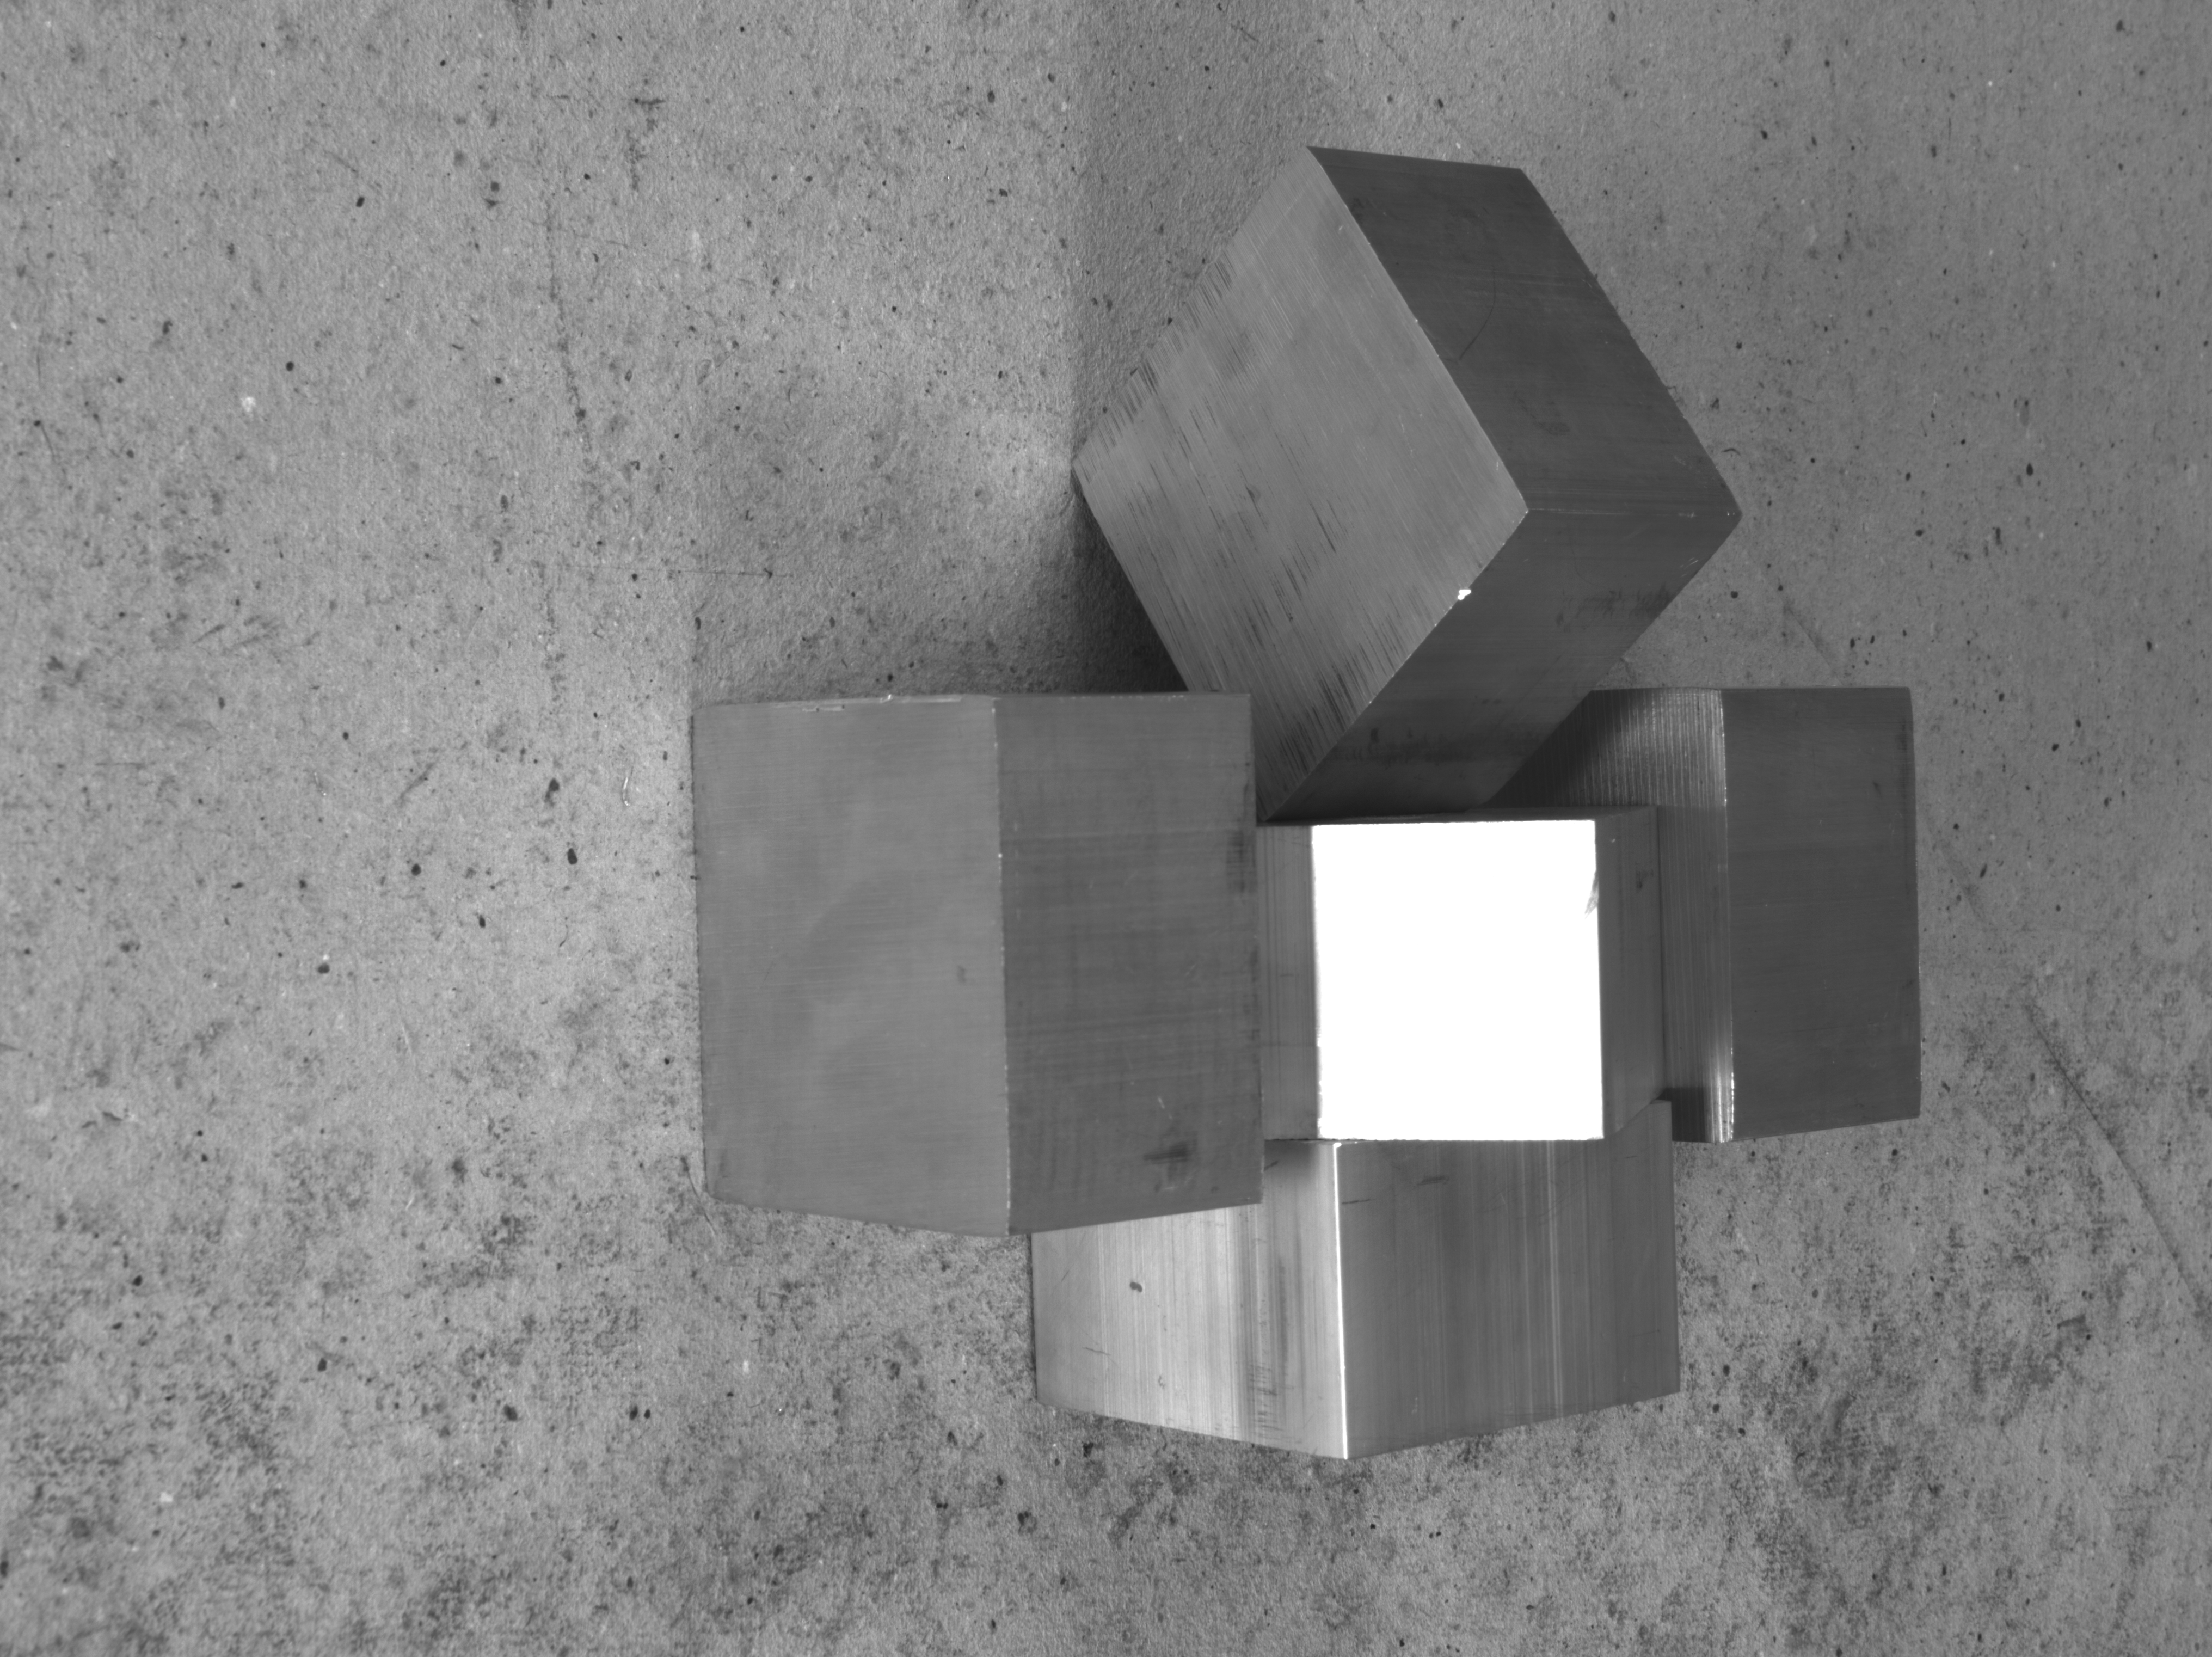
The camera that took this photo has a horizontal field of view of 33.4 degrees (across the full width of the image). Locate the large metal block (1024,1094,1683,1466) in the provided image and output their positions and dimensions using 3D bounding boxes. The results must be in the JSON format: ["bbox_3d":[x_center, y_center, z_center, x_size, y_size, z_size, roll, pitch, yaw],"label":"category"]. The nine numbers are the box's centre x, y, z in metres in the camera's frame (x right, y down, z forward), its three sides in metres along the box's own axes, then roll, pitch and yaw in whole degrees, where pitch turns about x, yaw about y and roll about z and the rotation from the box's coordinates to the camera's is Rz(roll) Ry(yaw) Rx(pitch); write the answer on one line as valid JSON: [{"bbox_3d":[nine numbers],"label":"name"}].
[{"bbox_3d":[0.042,0.074,0.637,0.080,0.080,0.050,-3,92,-39],"label":"large metal block"}]

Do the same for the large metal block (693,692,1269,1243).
[{"bbox_3d":[-0.021,0.020,0.583,0.050,0.080,0.080,-2,91,-40],"label":"large metal block"}]

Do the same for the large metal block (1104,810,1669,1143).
[{"bbox_3d":[0.050,0.024,0.624,0.080,0.080,0.050,-5,93,-75],"label":"large metal block"}]

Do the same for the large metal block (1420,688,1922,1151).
[{"bbox_3d":[0.102,0.016,0.686,0.050,0.080,0.080,-3,90,-40],"label":"large metal block"}]

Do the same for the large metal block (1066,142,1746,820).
[{"bbox_3d":[0.048,-0.057,0.622,0.050,0.080,0.080,-3,55,-39],"label":"large metal block"}]
